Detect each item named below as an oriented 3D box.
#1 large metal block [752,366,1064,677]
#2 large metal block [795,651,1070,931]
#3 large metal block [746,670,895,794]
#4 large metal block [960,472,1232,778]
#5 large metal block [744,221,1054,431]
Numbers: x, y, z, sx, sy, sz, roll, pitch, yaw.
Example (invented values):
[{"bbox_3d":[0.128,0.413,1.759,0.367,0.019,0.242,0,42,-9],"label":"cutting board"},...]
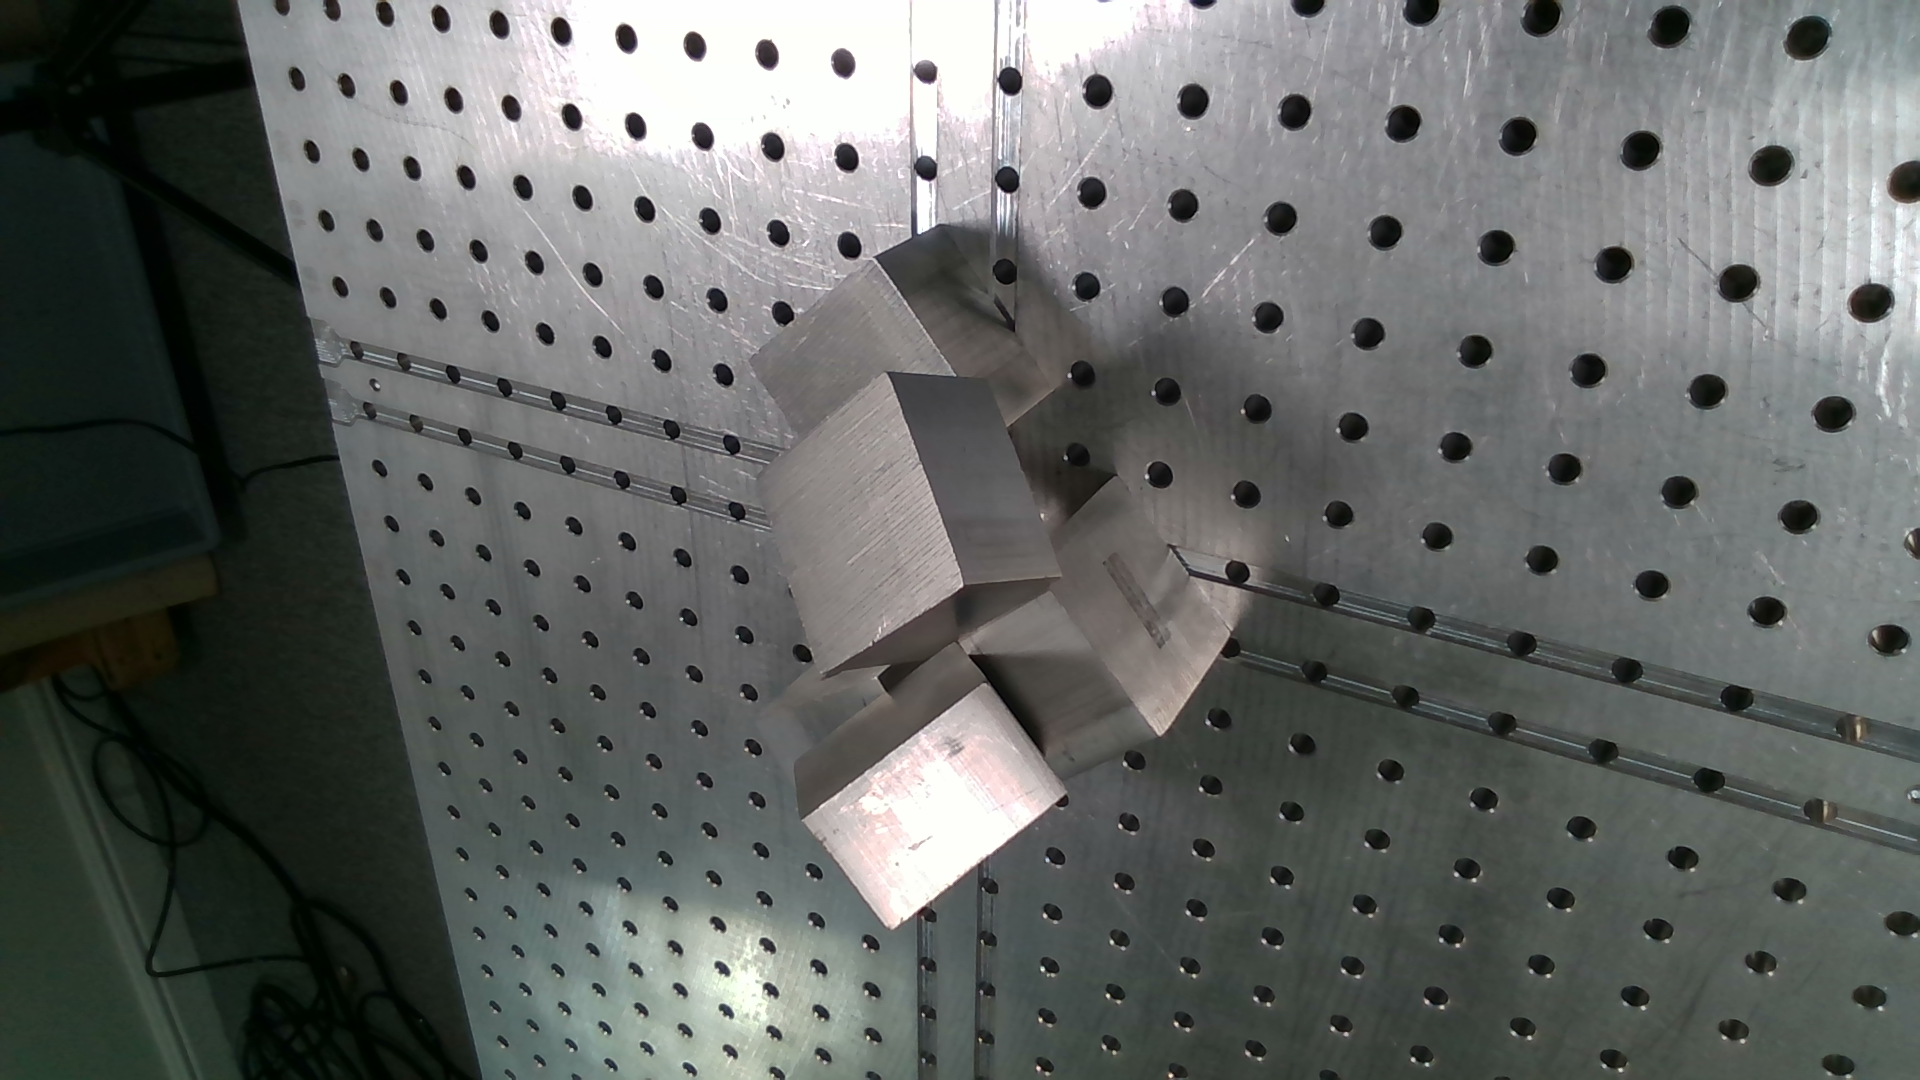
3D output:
[{"bbox_3d":[-0.021,-0.006,0.492,0.080,0.050,0.080,-33,70,39],"label":"large metal block"},{"bbox_3d":[-0.014,0.087,0.512,0.080,0.080,0.050,-37,100,-3],"label":"large metal block"},{"bbox_3d":[-0.032,0.071,0.604,0.080,0.080,0.050,-23,102,38],"label":"large metal block"},{"bbox_3d":[0.050,0.033,0.533,0.050,0.080,0.080,-32,96,39],"label":"large metal block"},{"bbox_3d":[-0.024,-0.065,0.545,0.080,0.050,0.080,-30,98,39],"label":"large metal block"}]
